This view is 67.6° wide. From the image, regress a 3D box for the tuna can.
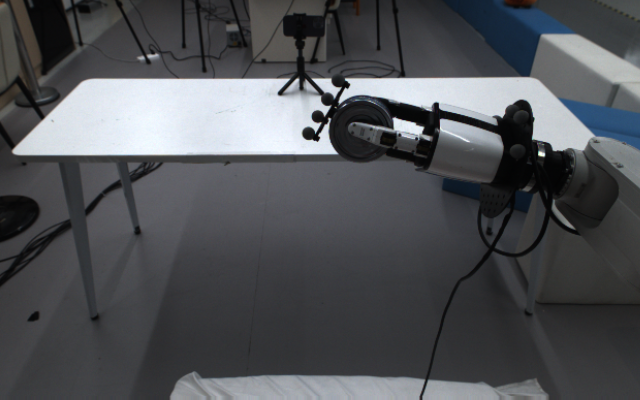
[{"bbox_3d":[0.057,-0.096,0.643,0.085,0.085,0.034,3,21,1],"label":"tuna can"}]
